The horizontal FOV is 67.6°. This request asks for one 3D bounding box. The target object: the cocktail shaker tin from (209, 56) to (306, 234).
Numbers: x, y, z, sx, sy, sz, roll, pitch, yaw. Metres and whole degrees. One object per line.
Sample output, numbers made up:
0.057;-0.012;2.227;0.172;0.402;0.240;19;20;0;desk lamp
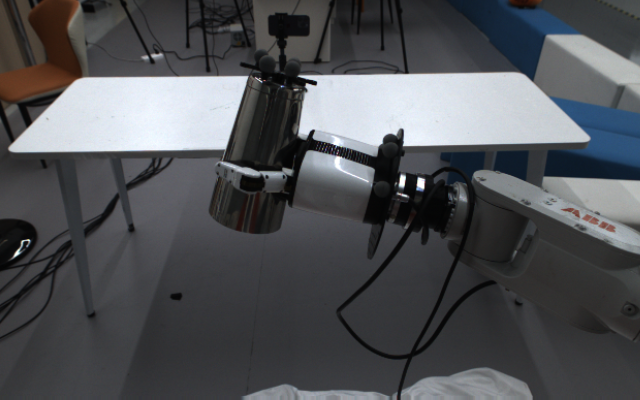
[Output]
-0.069;-0.056;0.572;0.093;0.170;0.093;15;19;-5;cocktail shaker tin
